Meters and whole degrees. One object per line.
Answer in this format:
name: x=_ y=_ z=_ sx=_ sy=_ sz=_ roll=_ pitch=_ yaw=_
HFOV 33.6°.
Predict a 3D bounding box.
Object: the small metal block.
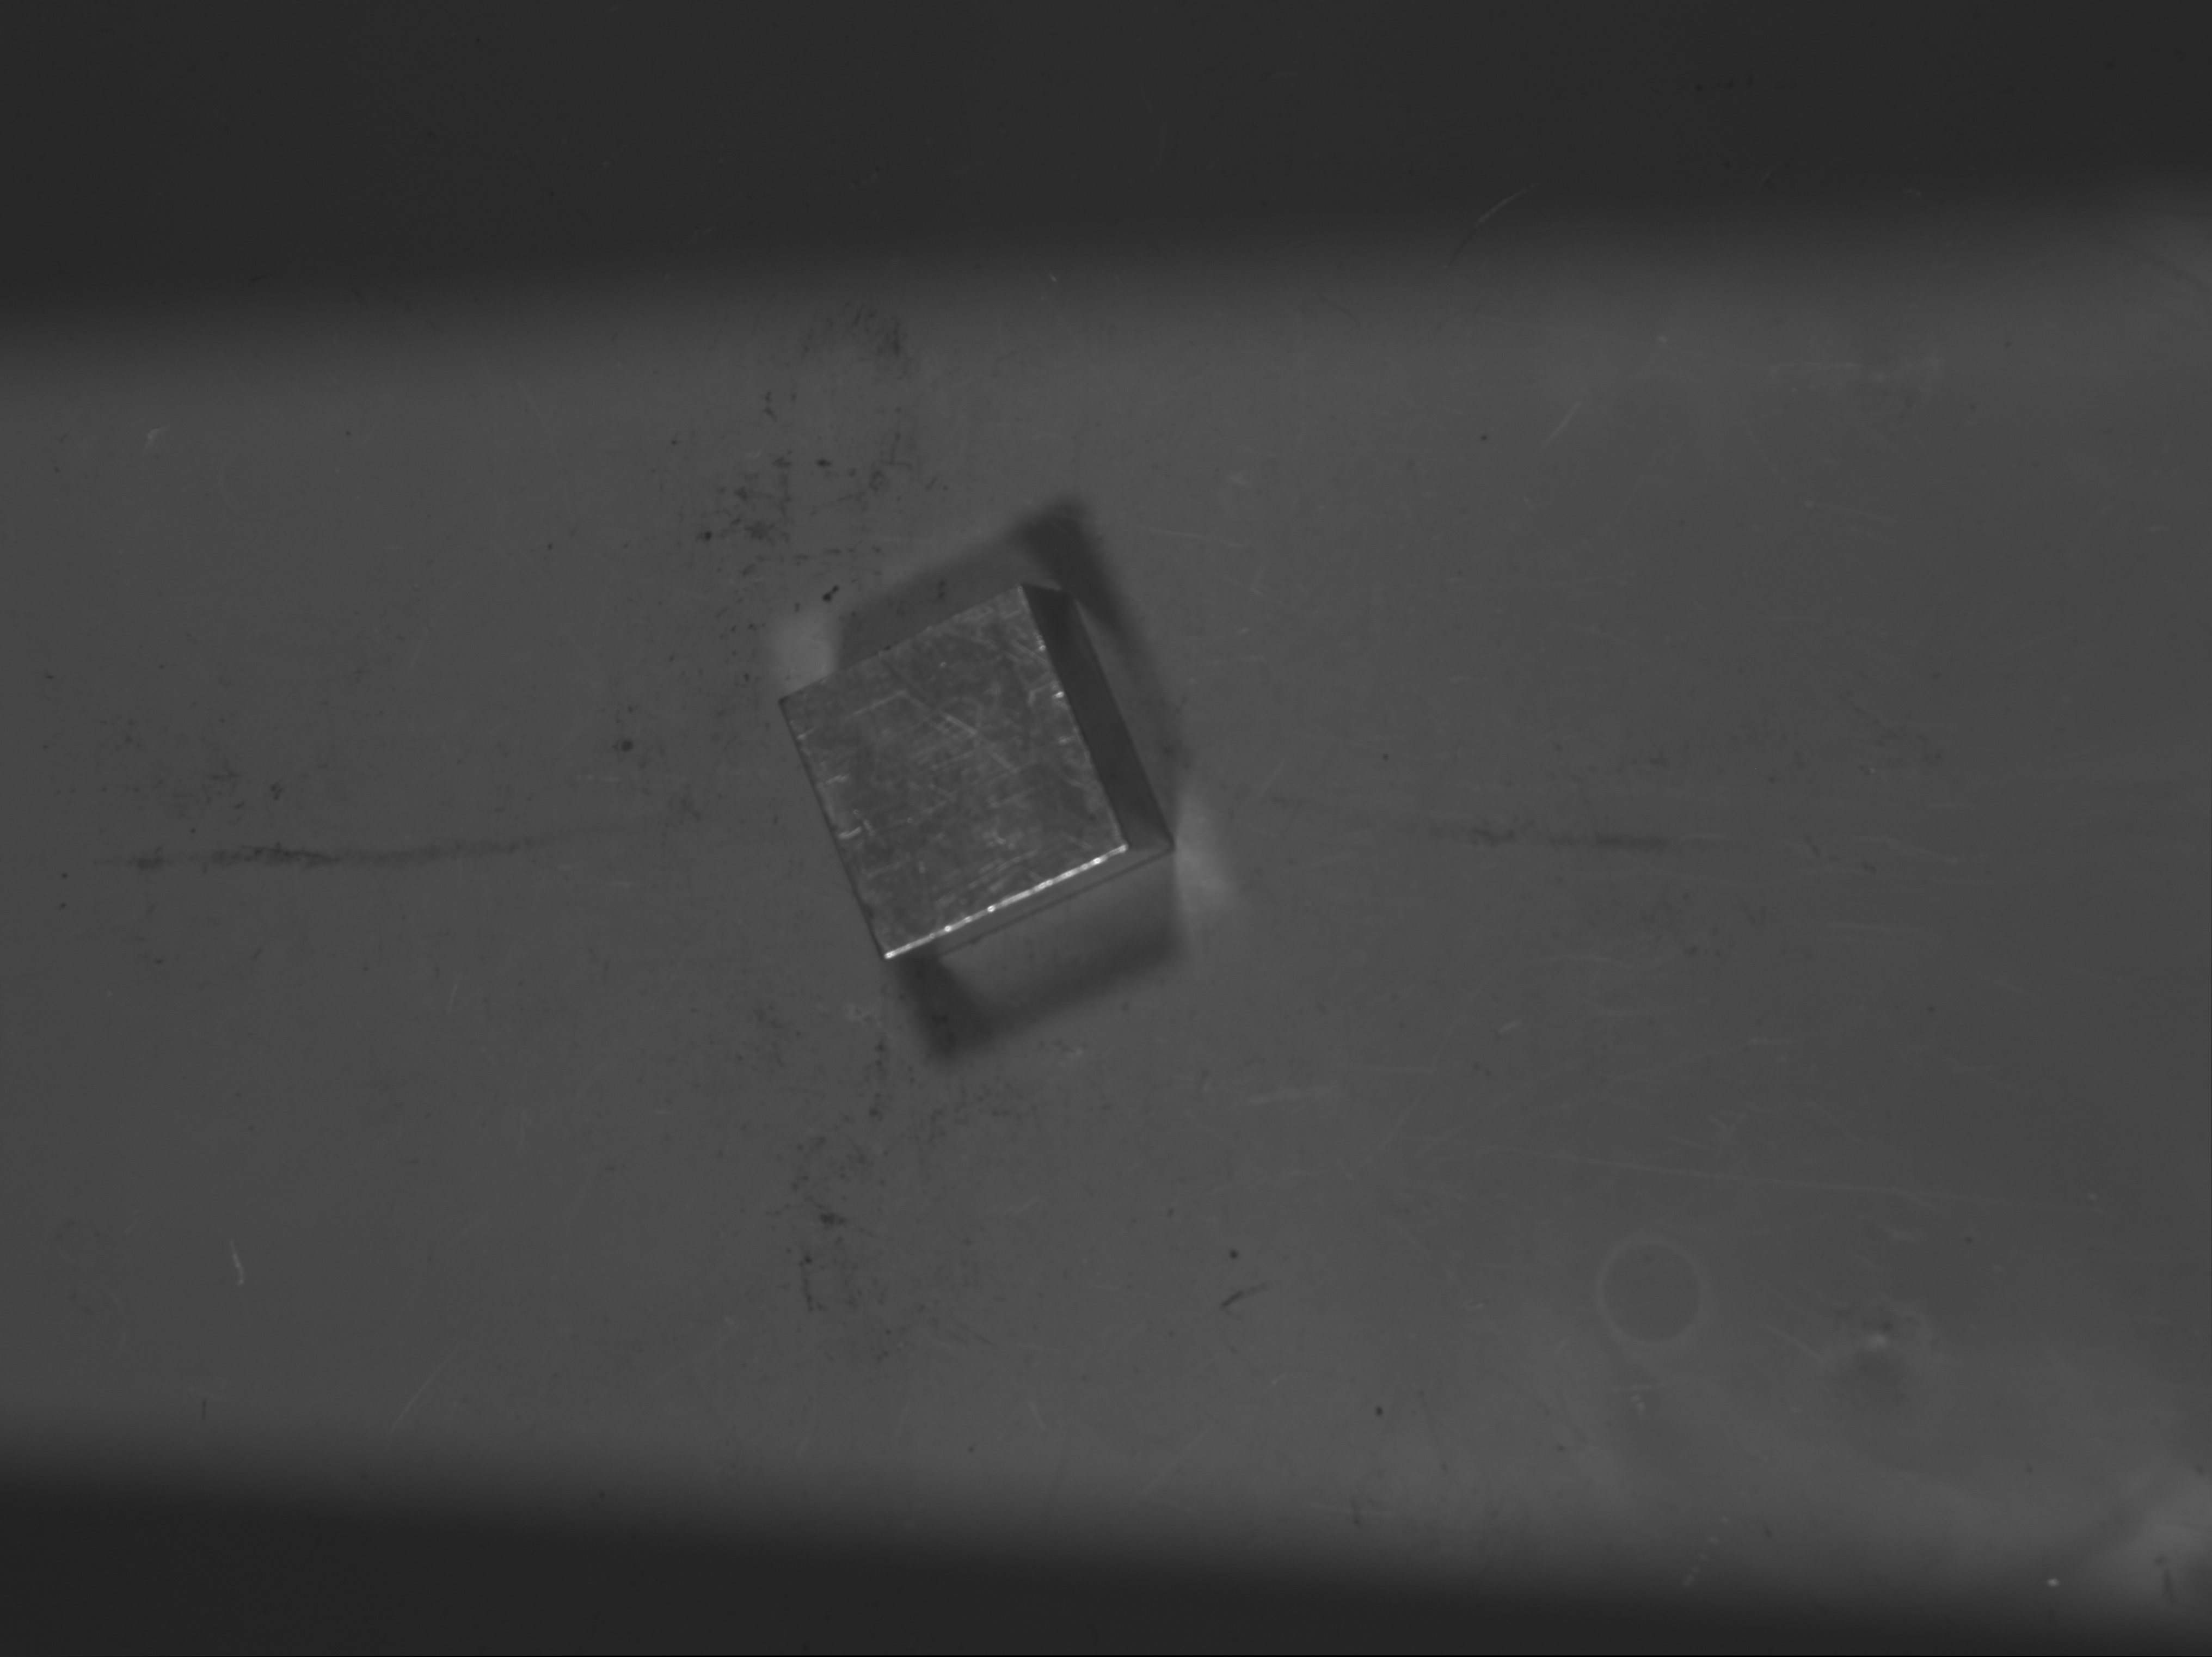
small metal block: x=-0.019 y=-0.009 z=0.648 sx=0.050 sy=0.025 sz=0.050 roll=-25 pitch=82 yaw=18
